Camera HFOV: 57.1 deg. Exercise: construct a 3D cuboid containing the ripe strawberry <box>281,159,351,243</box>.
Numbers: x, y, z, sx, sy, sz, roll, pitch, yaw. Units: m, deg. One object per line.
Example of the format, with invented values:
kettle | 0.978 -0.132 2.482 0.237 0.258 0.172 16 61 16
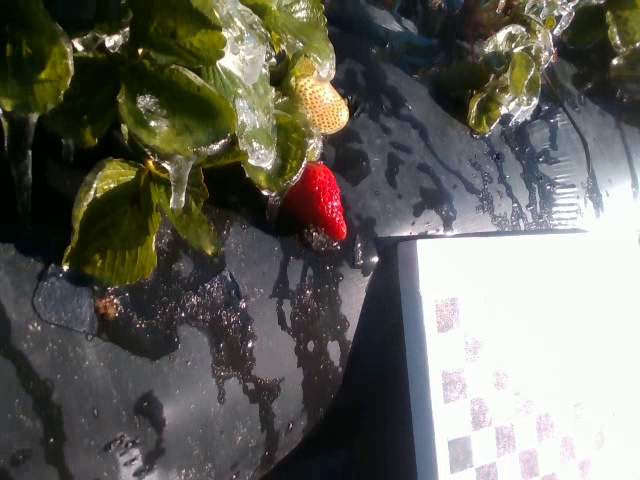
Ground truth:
ripe strawberry | 0.006 -0.024 0.351 0.041 0.052 0.040 -24 0 -35
